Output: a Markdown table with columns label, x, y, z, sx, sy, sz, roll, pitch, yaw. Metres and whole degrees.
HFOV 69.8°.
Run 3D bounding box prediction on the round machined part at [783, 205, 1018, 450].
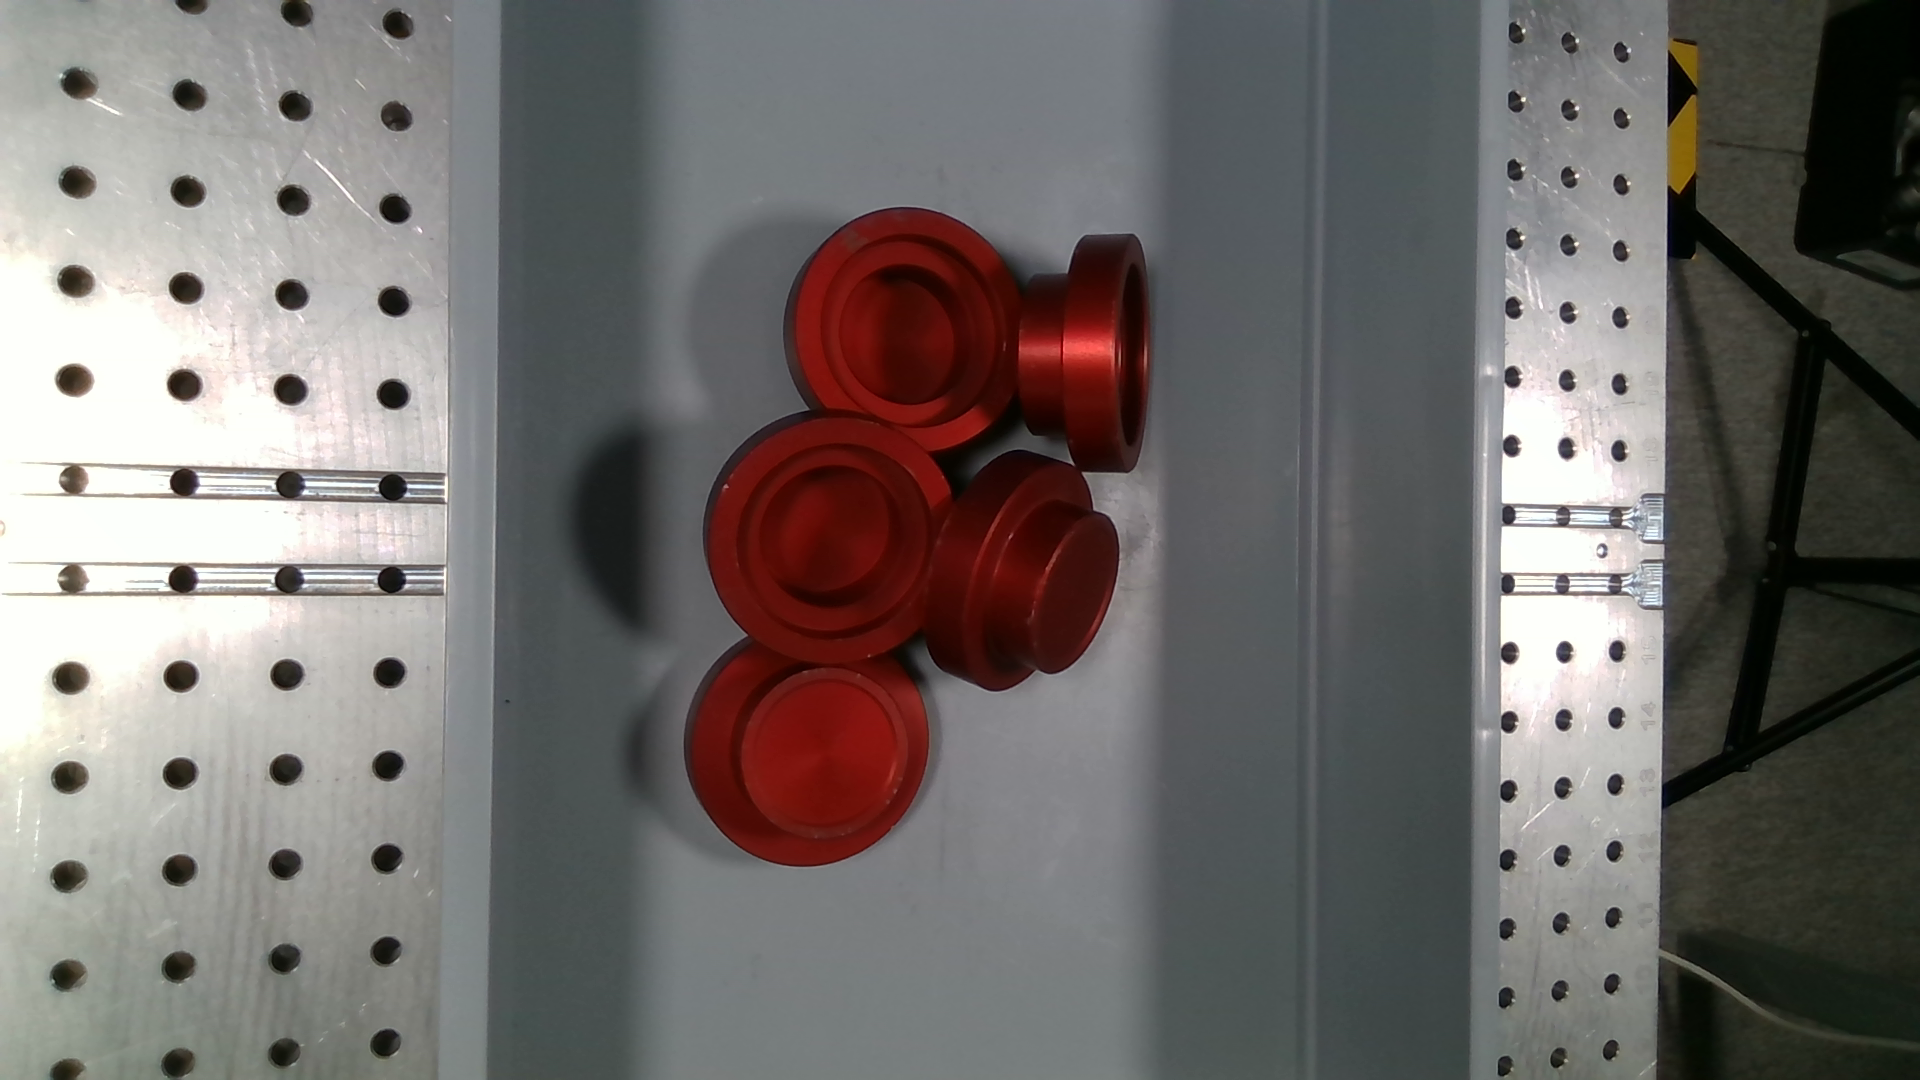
| label | x | y | z | sx | sy | sz | roll | pitch | yaw |
| --- | --- | --- | --- | --- | --- | --- | --- | --- | --- |
| round machined part | -0.025 | -0.084 | 0.565 | 0.098 | 0.042 | 0.098 | 0 | 90 | -20 |

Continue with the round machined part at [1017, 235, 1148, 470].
| label | x | y | z | sx | sy | sz | roll | pitch | yaw |
| --- | --- | --- | --- | --- | --- | --- | --- | --- | --- |
| round machined part | 0.052 | -0.078 | 0.575 | 0.042 | 0.098 | 0.098 | 2 | 89 | 15 |

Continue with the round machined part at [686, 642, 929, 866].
| label | x | y | z | sx | sy | sz | roll | pitch | yaw |
| --- | --- | --- | --- | --- | --- | --- | --- | --- | --- |
| round machined part | -0.059 | 0.082 | 0.554 | 0.098 | 0.042 | 0.098 | 0 | 90 | -20 |

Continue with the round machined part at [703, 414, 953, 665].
| label | x | y | z | sx | sy | sz | roll | pitch | yaw |
| --- | --- | --- | --- | --- | --- | --- | --- | --- | --- |
| round machined part | -0.052 | -0.003 | 0.544 | 0.098 | 0.042 | 0.098 | -3 | 104 | -14 |

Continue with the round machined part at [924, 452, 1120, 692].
| label | x | y | z | sx | sy | sz | roll | pitch | yaw |
| --- | --- | --- | --- | --- | --- | --- | --- | --- | --- |
| round machined part | 0.030 | 0.016 | 0.558 | 0.098 | 0.042 | 0.098 | -37 | 136 | -45 |
